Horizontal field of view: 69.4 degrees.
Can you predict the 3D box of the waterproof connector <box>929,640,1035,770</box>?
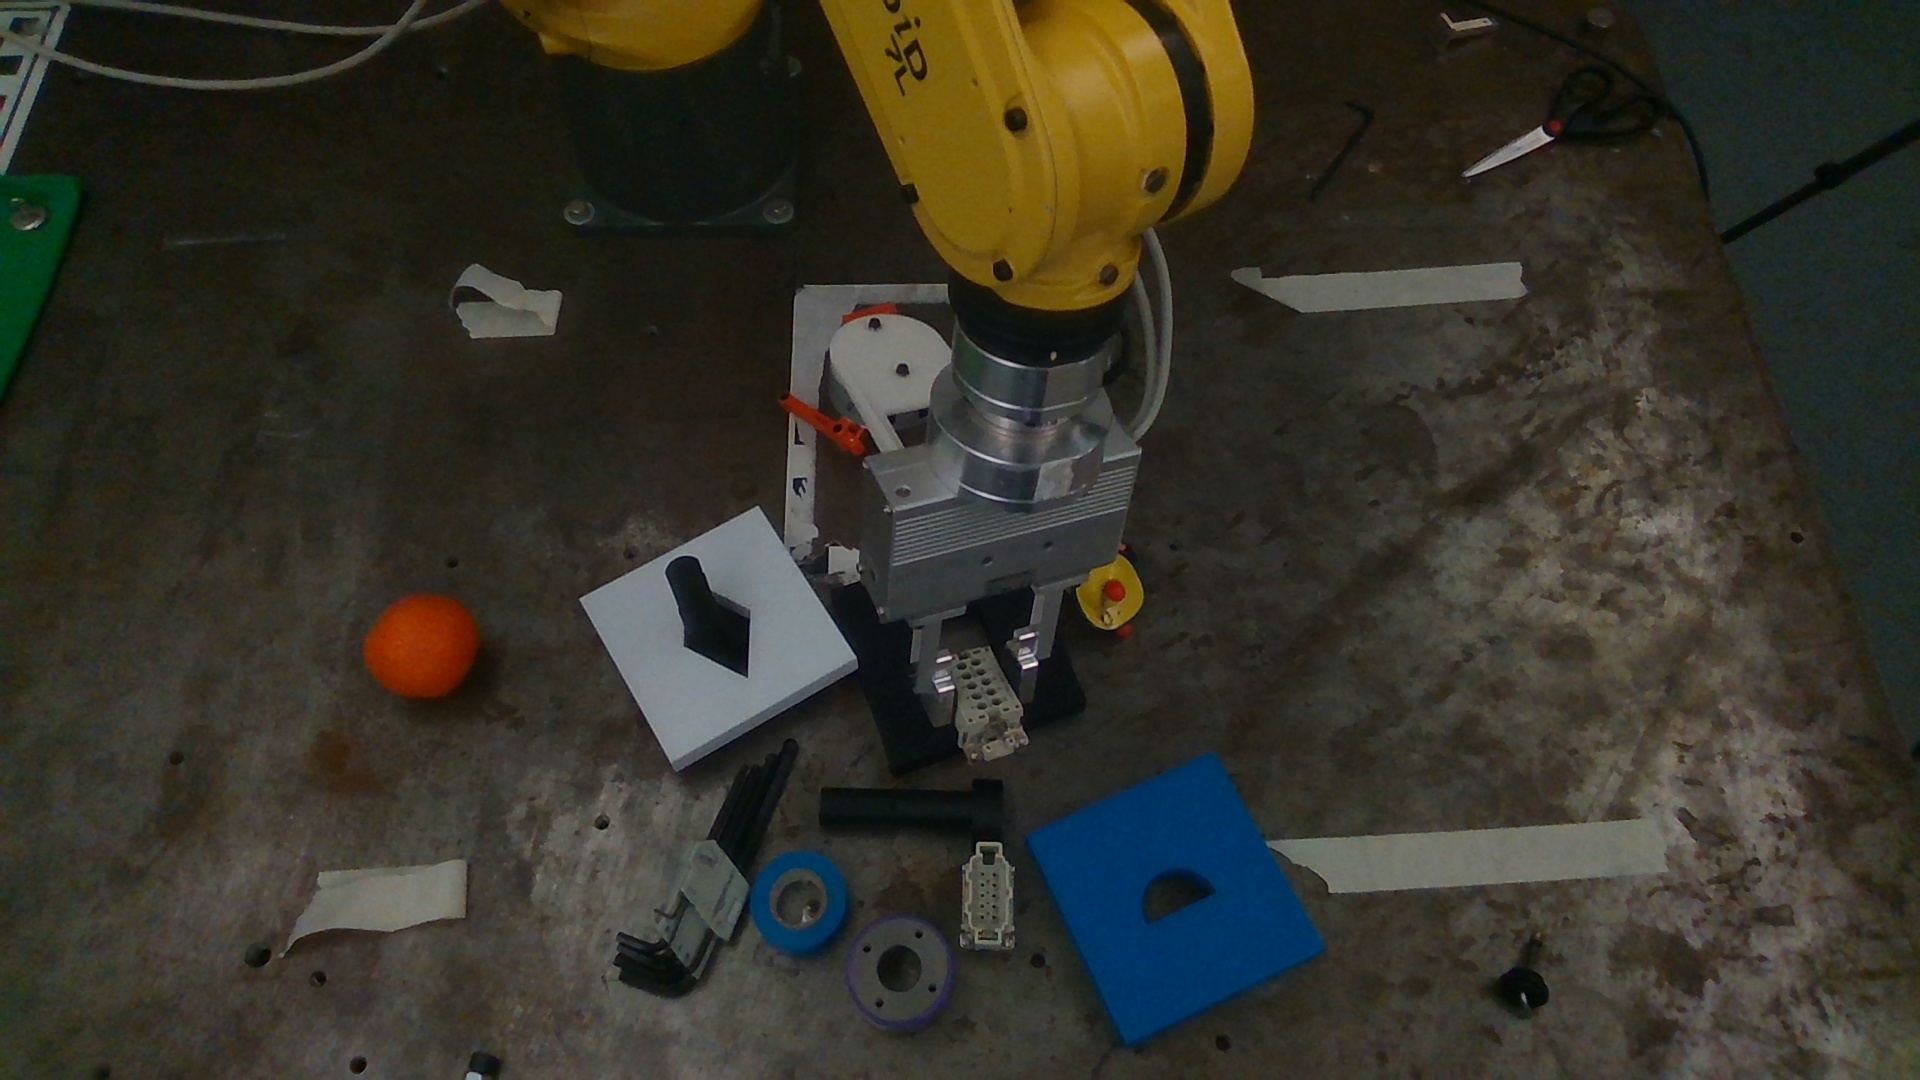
[{"bbox_3d":[0.011,0.084,0.721,0.036,0.038,0.069,-14,50,-15],"label":"waterproof connector"}]
